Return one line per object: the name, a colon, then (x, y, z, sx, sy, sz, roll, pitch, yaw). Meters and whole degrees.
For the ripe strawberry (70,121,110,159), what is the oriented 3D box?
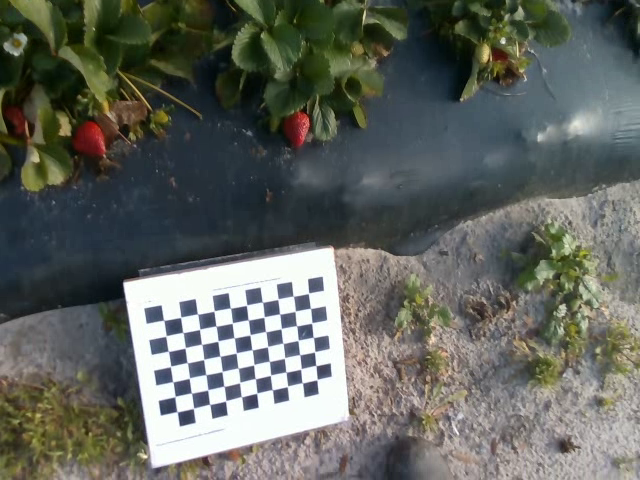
ripe strawberry: (-0.187, -0.079, 0.530, 0.030, 0.032, 0.026, 44, -6, 3)

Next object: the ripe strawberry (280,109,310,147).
ripe strawberry: (-0.021, -0.098, 0.582, 0.029, 0.036, 0.021, -7, 2, -10)
